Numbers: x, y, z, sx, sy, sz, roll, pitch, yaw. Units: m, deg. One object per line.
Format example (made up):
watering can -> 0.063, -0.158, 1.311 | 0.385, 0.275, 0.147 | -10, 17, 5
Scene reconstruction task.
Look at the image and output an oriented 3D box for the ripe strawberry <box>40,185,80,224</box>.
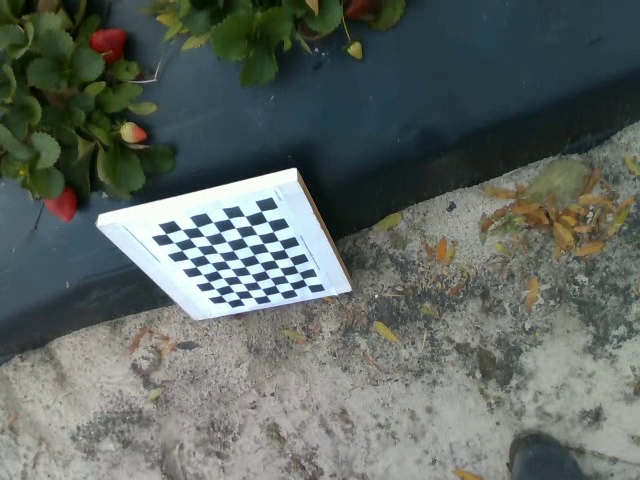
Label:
ripe strawberry -> -0.282, -0.043, 0.669 | 0.037, 0.046, 0.037 | -26, -11, -40
